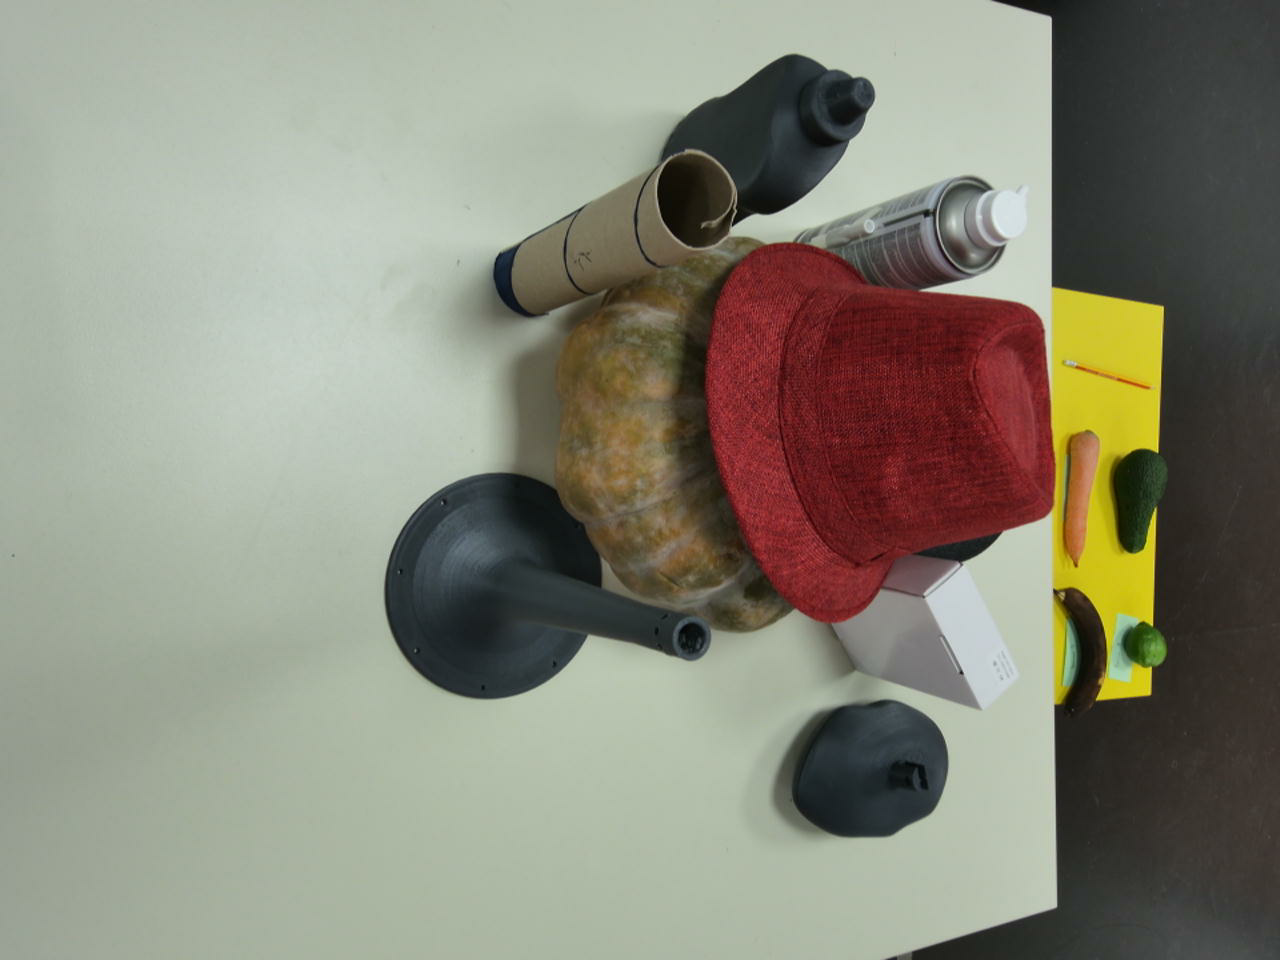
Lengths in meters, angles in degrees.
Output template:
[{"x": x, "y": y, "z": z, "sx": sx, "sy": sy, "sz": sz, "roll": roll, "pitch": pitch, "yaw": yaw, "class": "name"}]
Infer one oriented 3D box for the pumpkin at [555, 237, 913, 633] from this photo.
[{"x": 0.059, "y": -0.034, "z": 0.650, "sx": 0.252, "sy": 0.169, "sz": 0.252, "roll": 0, "pitch": 91, "yaw": -29, "class": "pumpkin"}]
